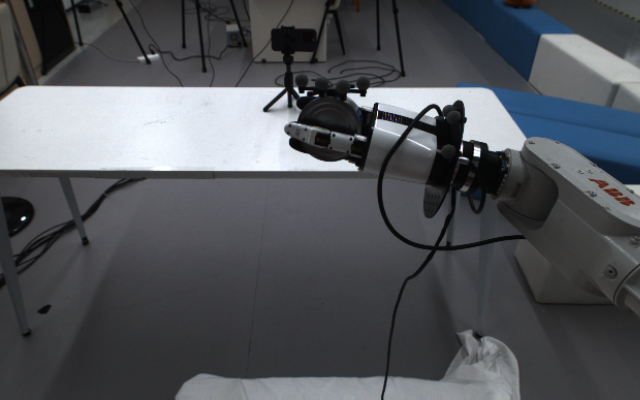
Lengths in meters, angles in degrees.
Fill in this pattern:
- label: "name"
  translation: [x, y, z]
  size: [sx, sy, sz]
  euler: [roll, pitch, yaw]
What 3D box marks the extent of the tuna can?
- label: "tuna can"
  translation: [0.015, -0.097, 0.639]
  size: [0.085, 0.085, 0.034]
  euler: [9, 23, 10]
